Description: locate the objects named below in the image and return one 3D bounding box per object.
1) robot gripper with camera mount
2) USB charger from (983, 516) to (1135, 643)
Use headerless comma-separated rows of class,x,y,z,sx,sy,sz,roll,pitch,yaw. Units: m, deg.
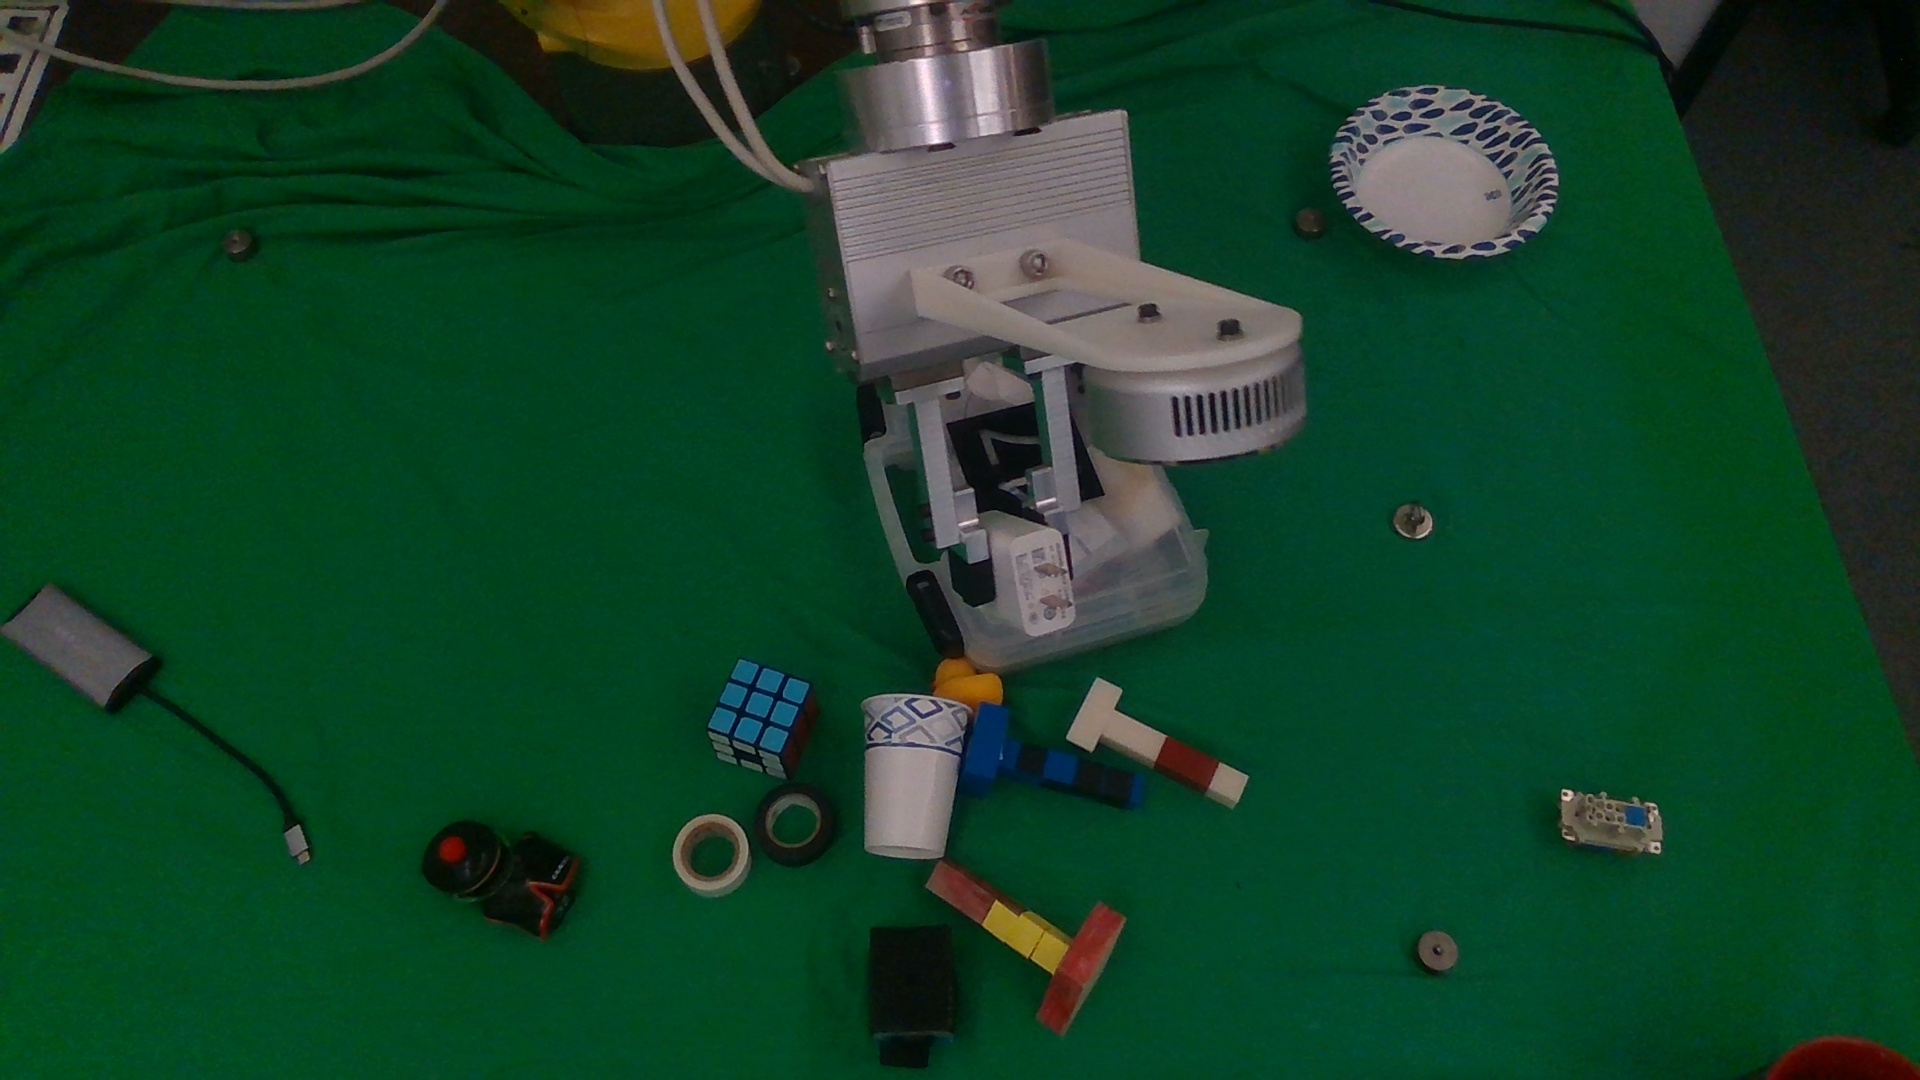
robot gripper with camera mount,0.050,-0.032,0.435,0.119,0.158,0.194,-17,20,-18
USB charger,0.039,0.014,0.509,0.029,0.076,0.044,-25,103,-23
